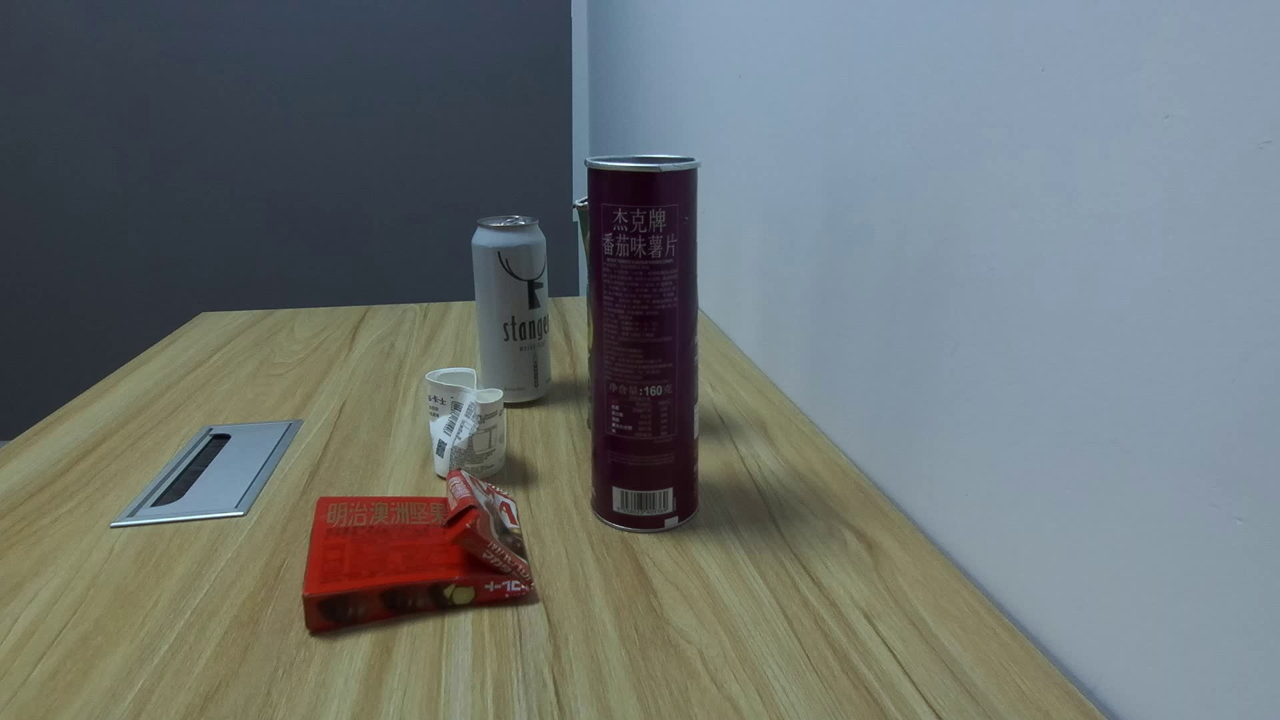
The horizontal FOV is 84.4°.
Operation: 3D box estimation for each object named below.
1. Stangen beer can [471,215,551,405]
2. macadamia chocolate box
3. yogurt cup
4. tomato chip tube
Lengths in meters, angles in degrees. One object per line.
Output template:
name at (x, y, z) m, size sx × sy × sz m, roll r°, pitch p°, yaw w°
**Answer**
Stangen beer can at (-0.119, -0.045, 0.663) m, size 0.067 × 0.171 × 0.067 m, roll 1°, pitch 18°, yaw 0°
macadamia chocolate box at (-0.133, 0.109, 0.430) m, size 0.127 × 0.056 × 0.112 m, roll -8°, pitch 6°, yaw -16°
yogurt cup at (-0.133, 0.049, 0.540) m, size 0.075 × 0.071 × 0.054 m, roll 6°, pitch 22°, yaw 17°
tomato chip tube at (0.004, -0.009, 0.458) m, size 0.080 × 0.234 × 0.076 m, roll -17°, pitch 26°, yaw -41°
